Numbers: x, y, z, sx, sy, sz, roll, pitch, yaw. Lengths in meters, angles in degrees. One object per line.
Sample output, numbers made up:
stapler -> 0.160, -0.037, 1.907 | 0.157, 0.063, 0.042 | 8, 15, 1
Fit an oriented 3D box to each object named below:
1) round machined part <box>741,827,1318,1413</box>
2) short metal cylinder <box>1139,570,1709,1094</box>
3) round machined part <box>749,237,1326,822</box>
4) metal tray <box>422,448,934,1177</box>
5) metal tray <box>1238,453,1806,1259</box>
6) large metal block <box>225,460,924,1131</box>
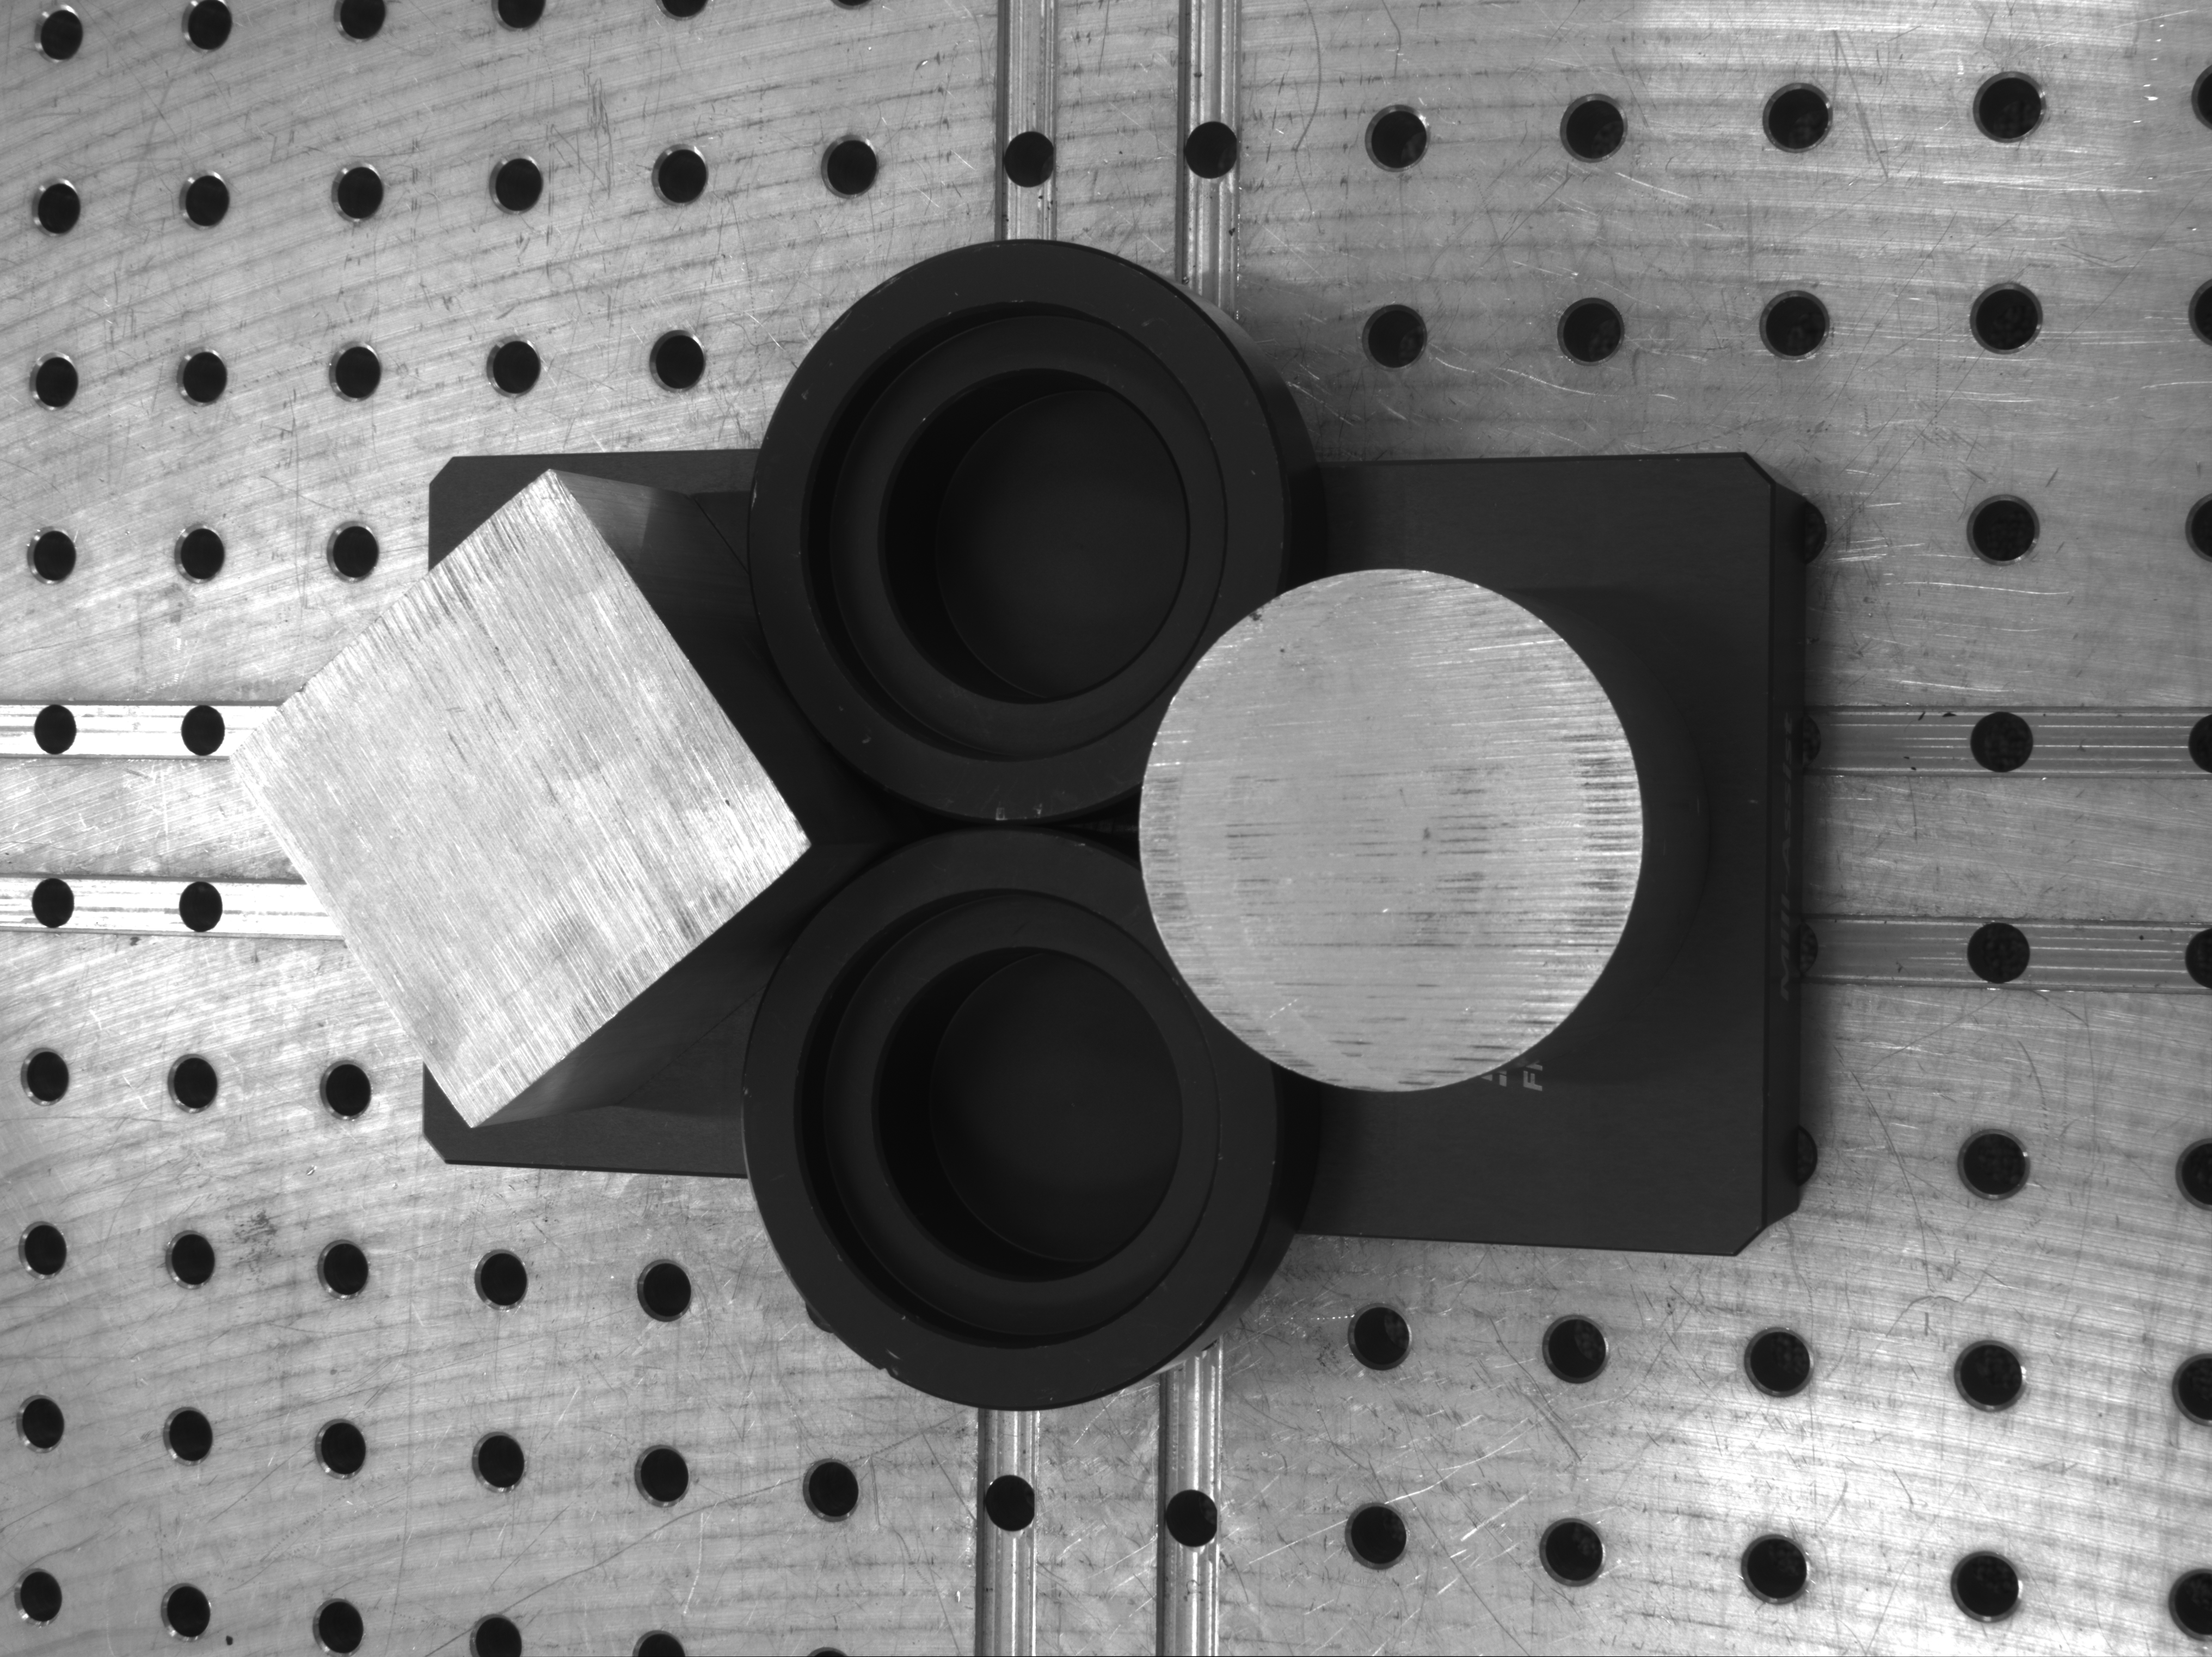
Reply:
round machined part -> -0.010, 0.049, 0.634 | 0.098, 0.042, 0.098 | 0, 90, 20
short metal cylinder -> 0.051, 0.001, 0.585 | 0.080, 0.050, 0.080 | 0, 90, 20
round machined part -> -0.009, -0.050, 0.634 | 0.098, 0.042, 0.098 | 0, 90, 20
metal tray -> -0.078, -0.003, 0.675 | 0.090, 0.030, 0.130 | 1, 90, 19
metal tray -> 0.070, 0.004, 0.619 | 0.090, 0.030, 0.130 | 1, 90, 20
large metal block -> -0.090, -0.005, 0.637 | 0.080, 0.050, 0.080 | -39, 78, 16
